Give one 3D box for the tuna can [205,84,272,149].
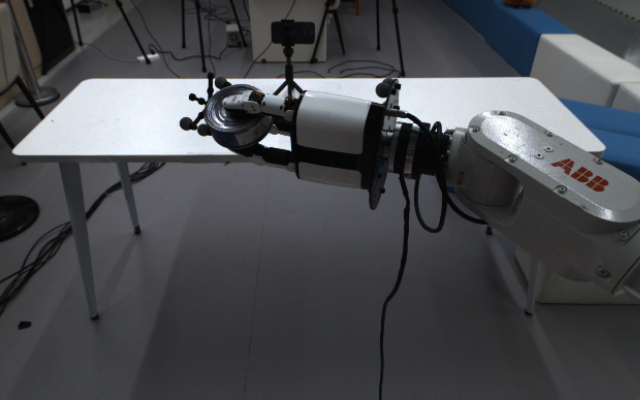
[{"bbox_3d":[-0.106,-0.112,0.636,0.085,0.034,0.085,-3,59,6],"label":"tuna can"}]
